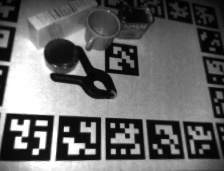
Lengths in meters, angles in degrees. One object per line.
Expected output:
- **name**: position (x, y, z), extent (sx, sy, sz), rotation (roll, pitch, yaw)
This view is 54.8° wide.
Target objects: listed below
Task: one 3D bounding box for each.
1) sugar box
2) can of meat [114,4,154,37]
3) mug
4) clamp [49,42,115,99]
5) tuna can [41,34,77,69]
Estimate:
- **sugar box**: position (-0.126, -0.174, 0.564), extent (0.178, 0.092, 0.045), rotation (-33, 81, -26)
- **can of meat**: position (0.059, -0.188, 0.633), extent (0.103, 0.083, 0.057), rotation (-2, 70, -19)
- **mug**: position (-0.036, -0.152, 0.581), extent (0.093, 0.081, 0.117), rotation (30, 67, -6)
- **clamp**: position (-0.063, -0.024, 0.561), extent (0.165, 0.036, 0.122), rotation (40, 60, -5)
- **tuna can**: position (-0.136, -0.085, 0.554), extent (0.086, 0.033, 0.085), rotation (5, 71, -15)
